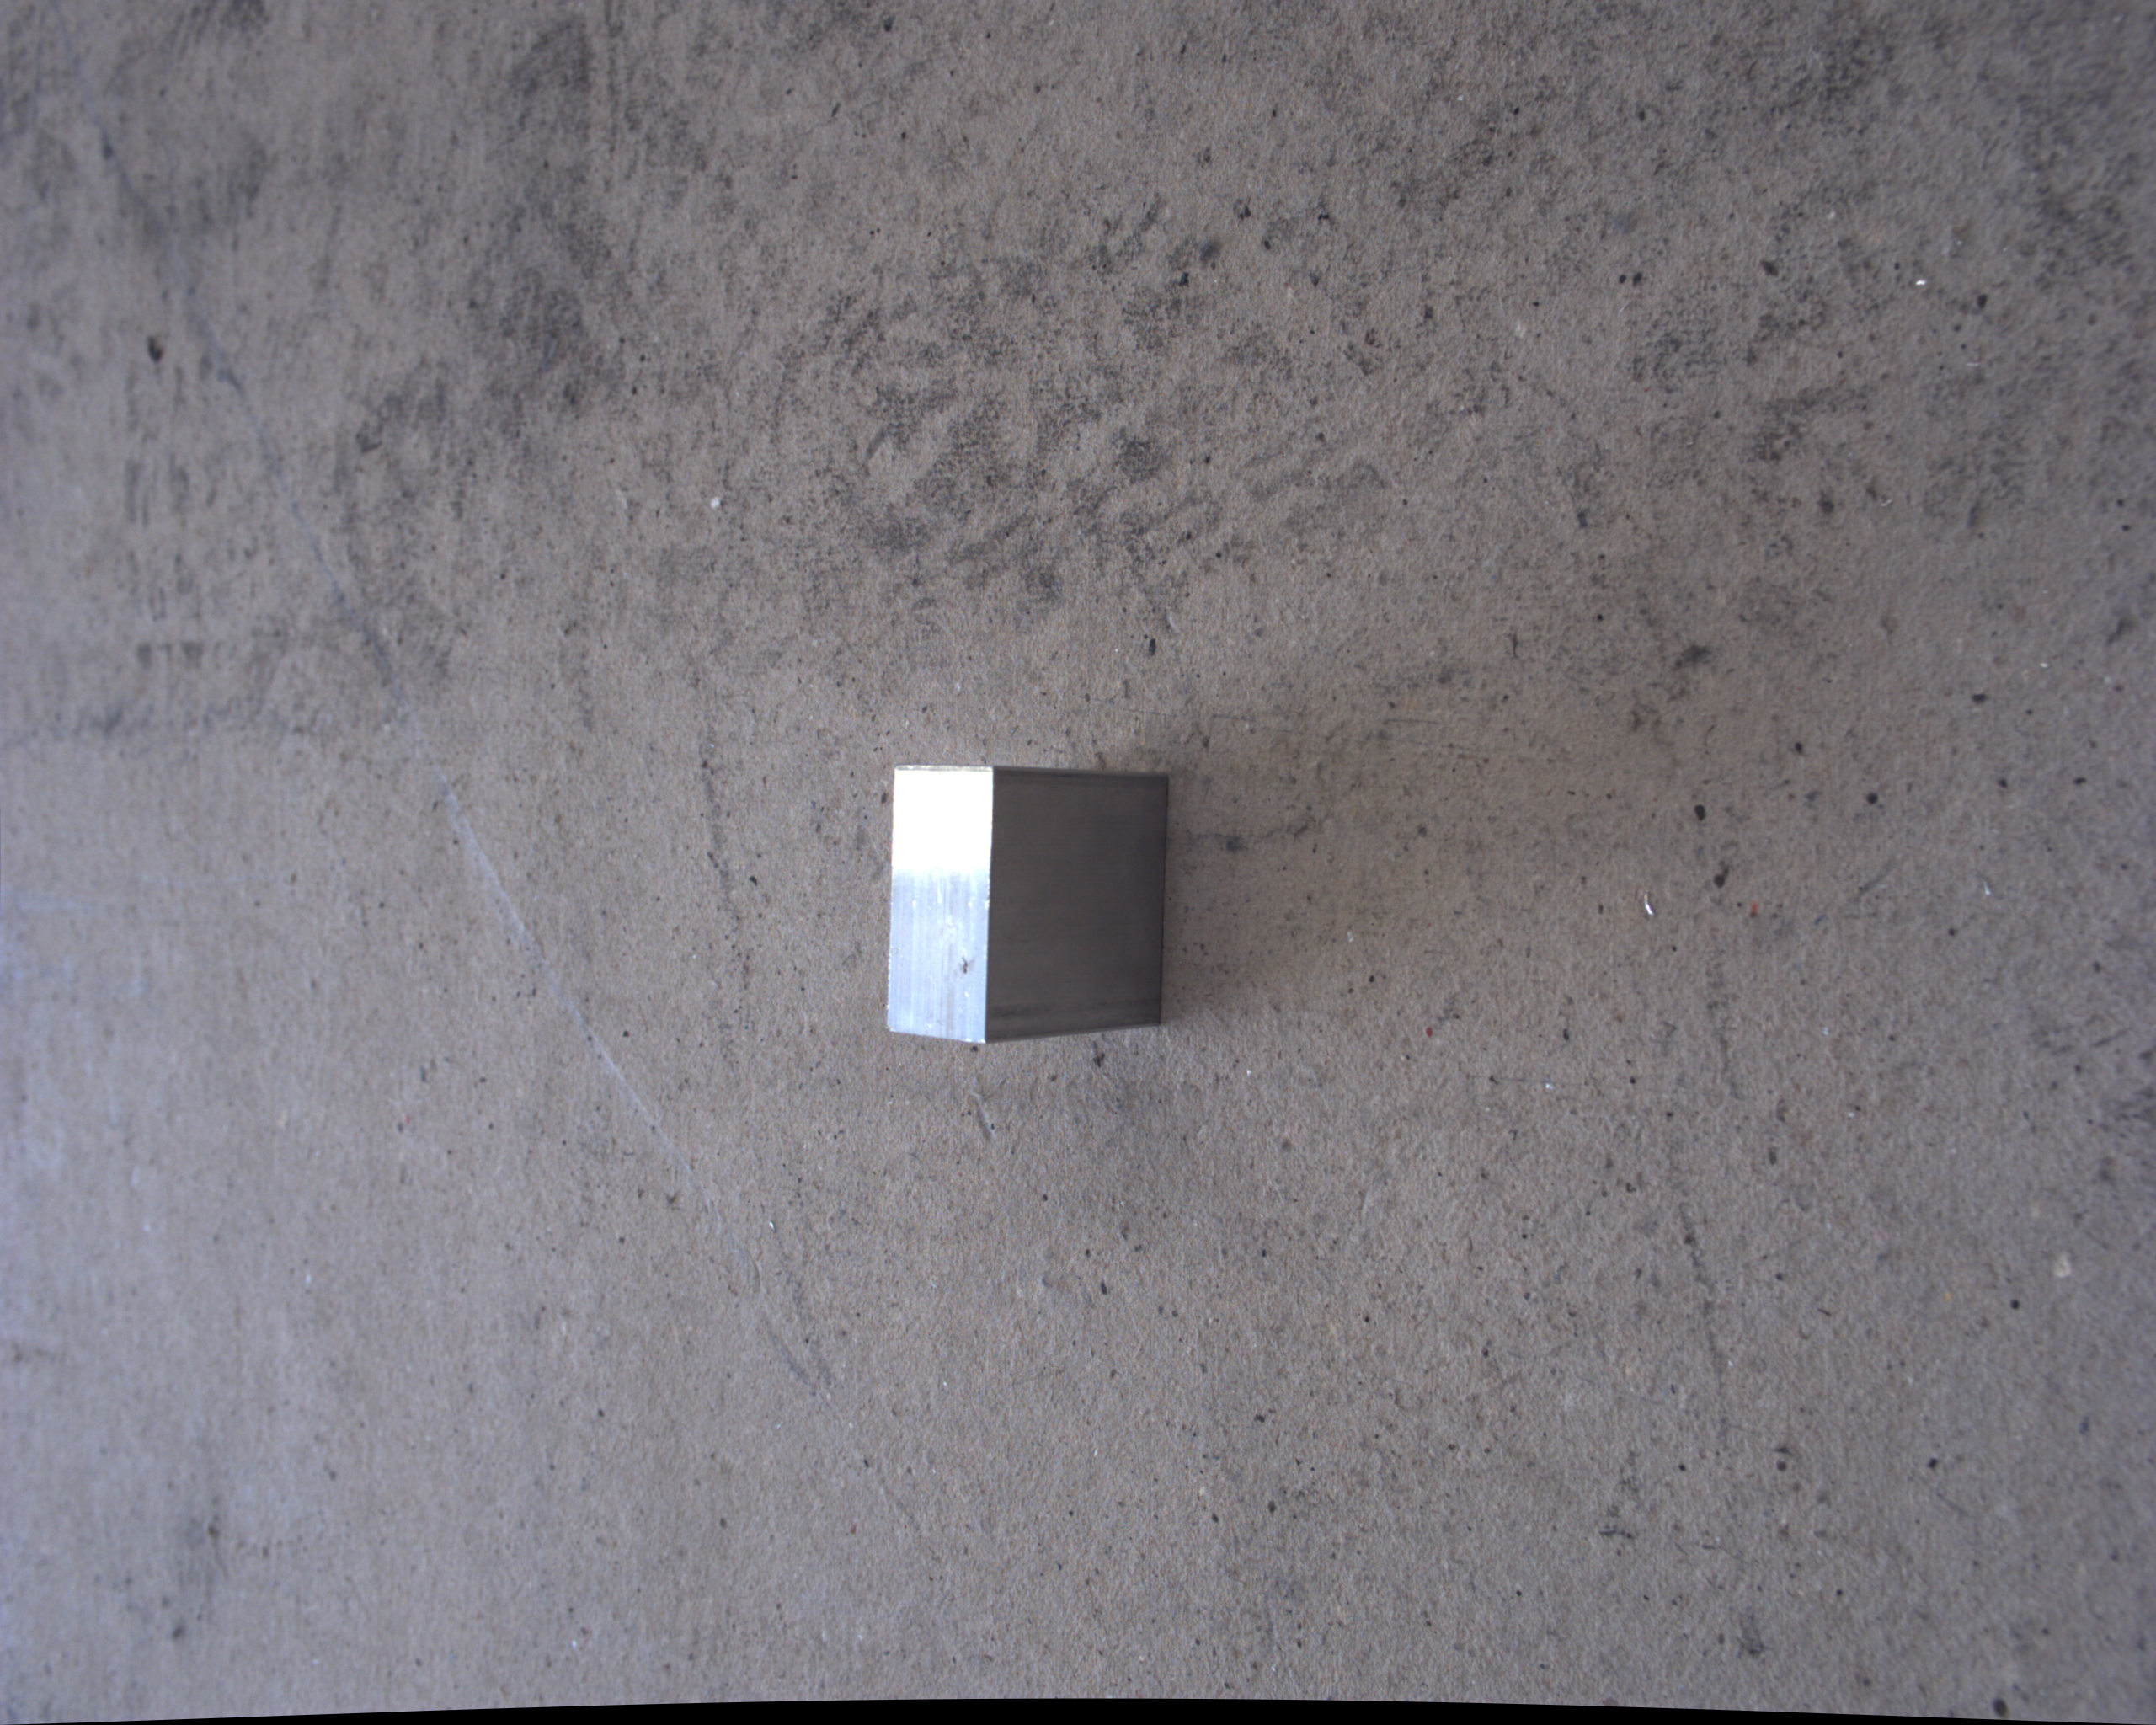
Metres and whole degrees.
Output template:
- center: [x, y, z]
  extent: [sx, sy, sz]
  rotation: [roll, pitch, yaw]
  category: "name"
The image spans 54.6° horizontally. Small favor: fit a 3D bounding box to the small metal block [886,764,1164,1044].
- center: [-0.009, 0.007, 0.399]
  extent: [0.025, 0.050, 0.050]
  rotation: [3, 92, 39]
  category: "small metal block"
